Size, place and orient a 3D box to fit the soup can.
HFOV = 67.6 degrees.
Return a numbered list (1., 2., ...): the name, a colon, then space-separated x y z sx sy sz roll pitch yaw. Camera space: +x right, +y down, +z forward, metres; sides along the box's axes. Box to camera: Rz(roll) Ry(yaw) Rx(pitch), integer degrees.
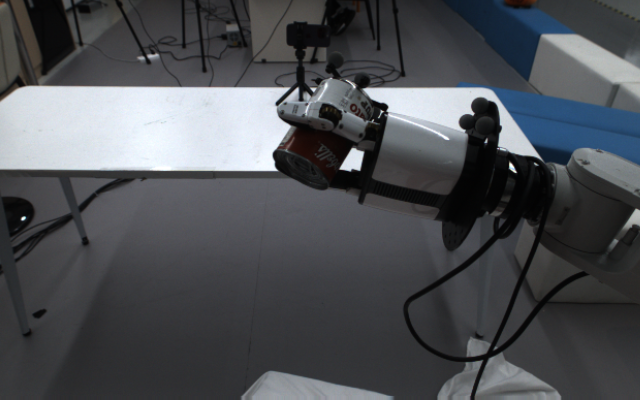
1. soup can: 0.006 -0.070 0.511 0.067 0.067 0.101 23 71 27
